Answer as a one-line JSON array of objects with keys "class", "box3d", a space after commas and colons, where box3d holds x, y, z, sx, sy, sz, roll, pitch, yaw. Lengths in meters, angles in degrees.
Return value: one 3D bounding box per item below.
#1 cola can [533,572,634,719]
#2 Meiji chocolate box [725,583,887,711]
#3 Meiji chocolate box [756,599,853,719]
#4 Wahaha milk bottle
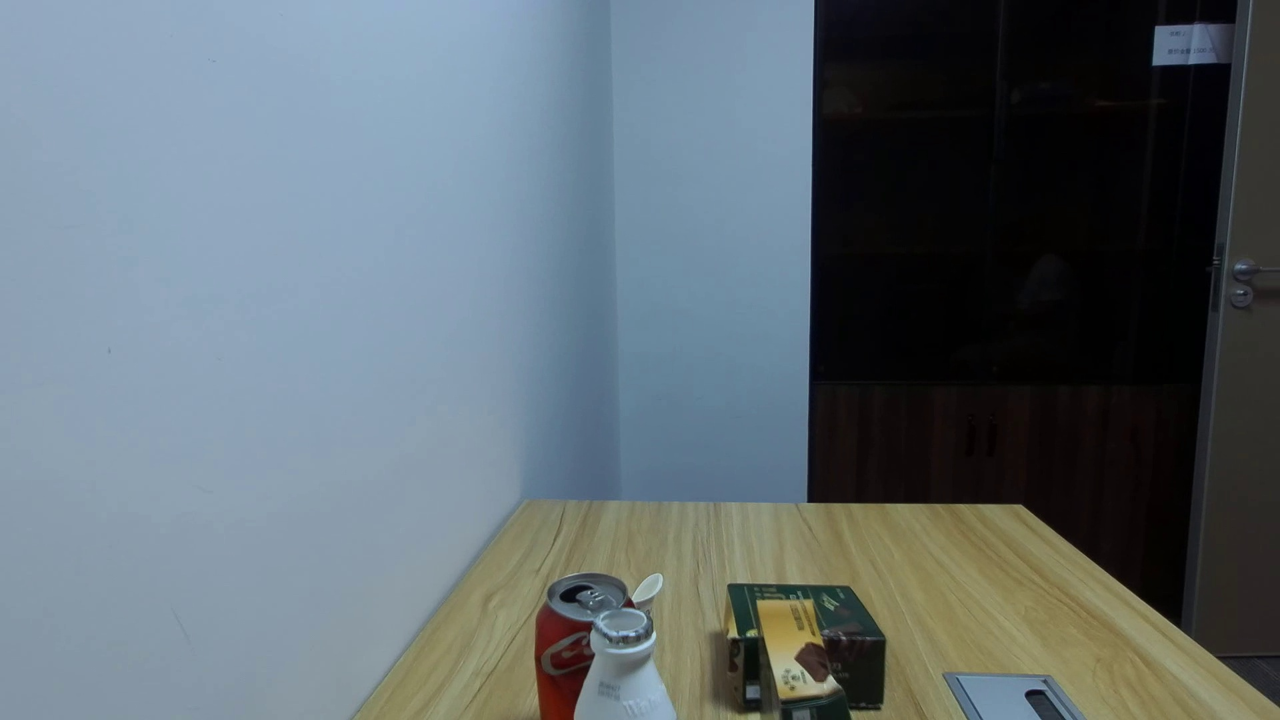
[{"class": "cola can", "box3d": [-0.032, 0.206, 0.473, 0.072, 0.117, 0.065, -1, 4, -8]}, {"class": "Meiji chocolate box", "box3d": [0.128, 0.225, 0.566, 0.122, 0.058, 0.116, -1, 5, 2]}, {"class": "Meiji chocolate box", "box3d": [0.098, 0.214, 0.418, 0.051, 0.117, 0.117, -9, 9, 2]}, {"class": "Wahaha milk bottle", "box3d": [-0.009, 0.202, 0.370, 0.056, 0.147, 0.056, 1, 13, 0]}]
